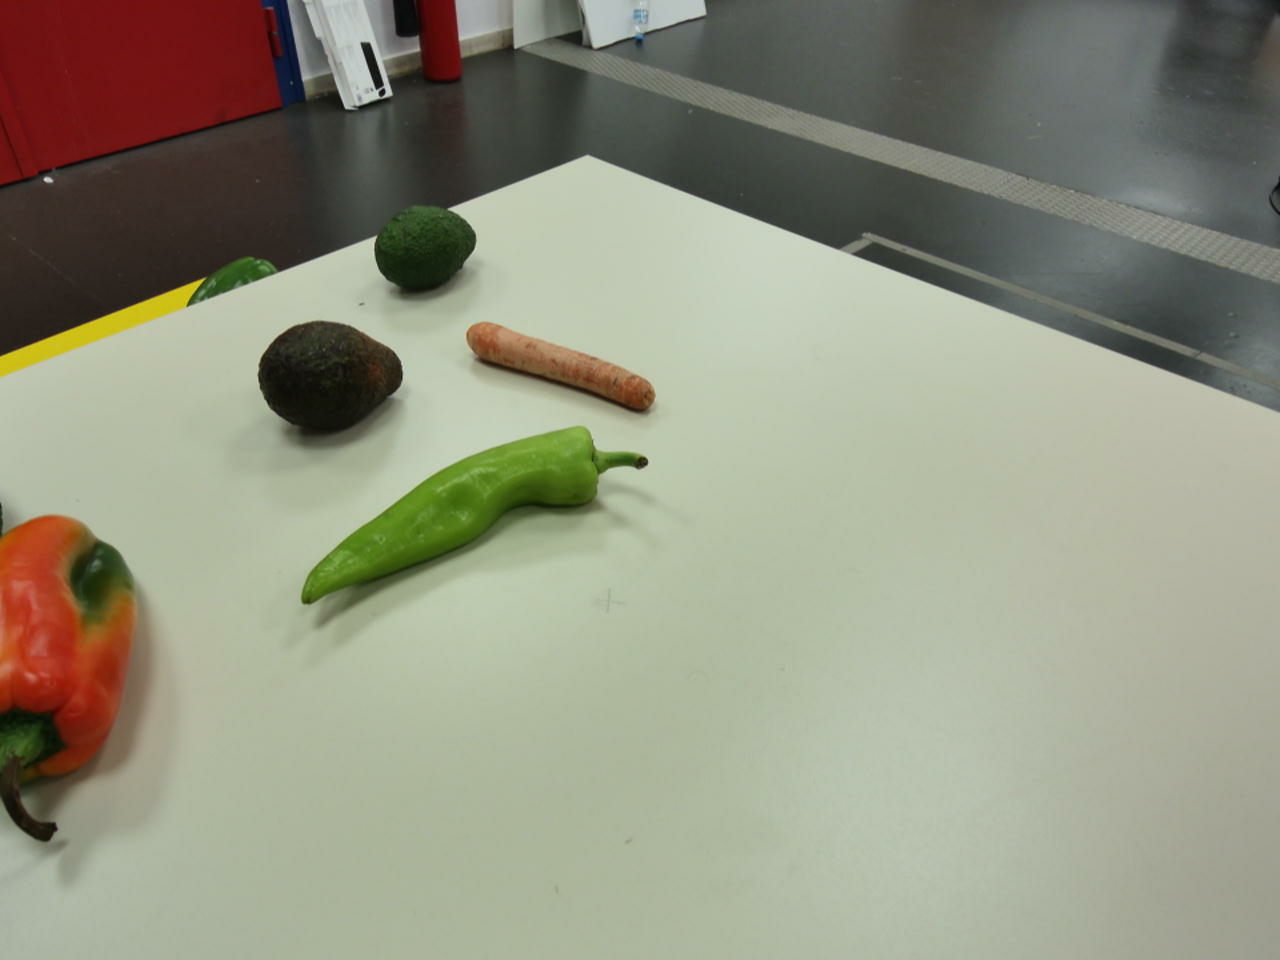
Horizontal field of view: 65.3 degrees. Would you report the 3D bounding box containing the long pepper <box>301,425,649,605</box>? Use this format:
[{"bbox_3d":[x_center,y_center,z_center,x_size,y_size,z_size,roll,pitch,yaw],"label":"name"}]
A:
[{"bbox_3d":[-0.097,0.013,0.562,0.204,0.045,0.065,-20,43,-26],"label":"long pepper"}]
